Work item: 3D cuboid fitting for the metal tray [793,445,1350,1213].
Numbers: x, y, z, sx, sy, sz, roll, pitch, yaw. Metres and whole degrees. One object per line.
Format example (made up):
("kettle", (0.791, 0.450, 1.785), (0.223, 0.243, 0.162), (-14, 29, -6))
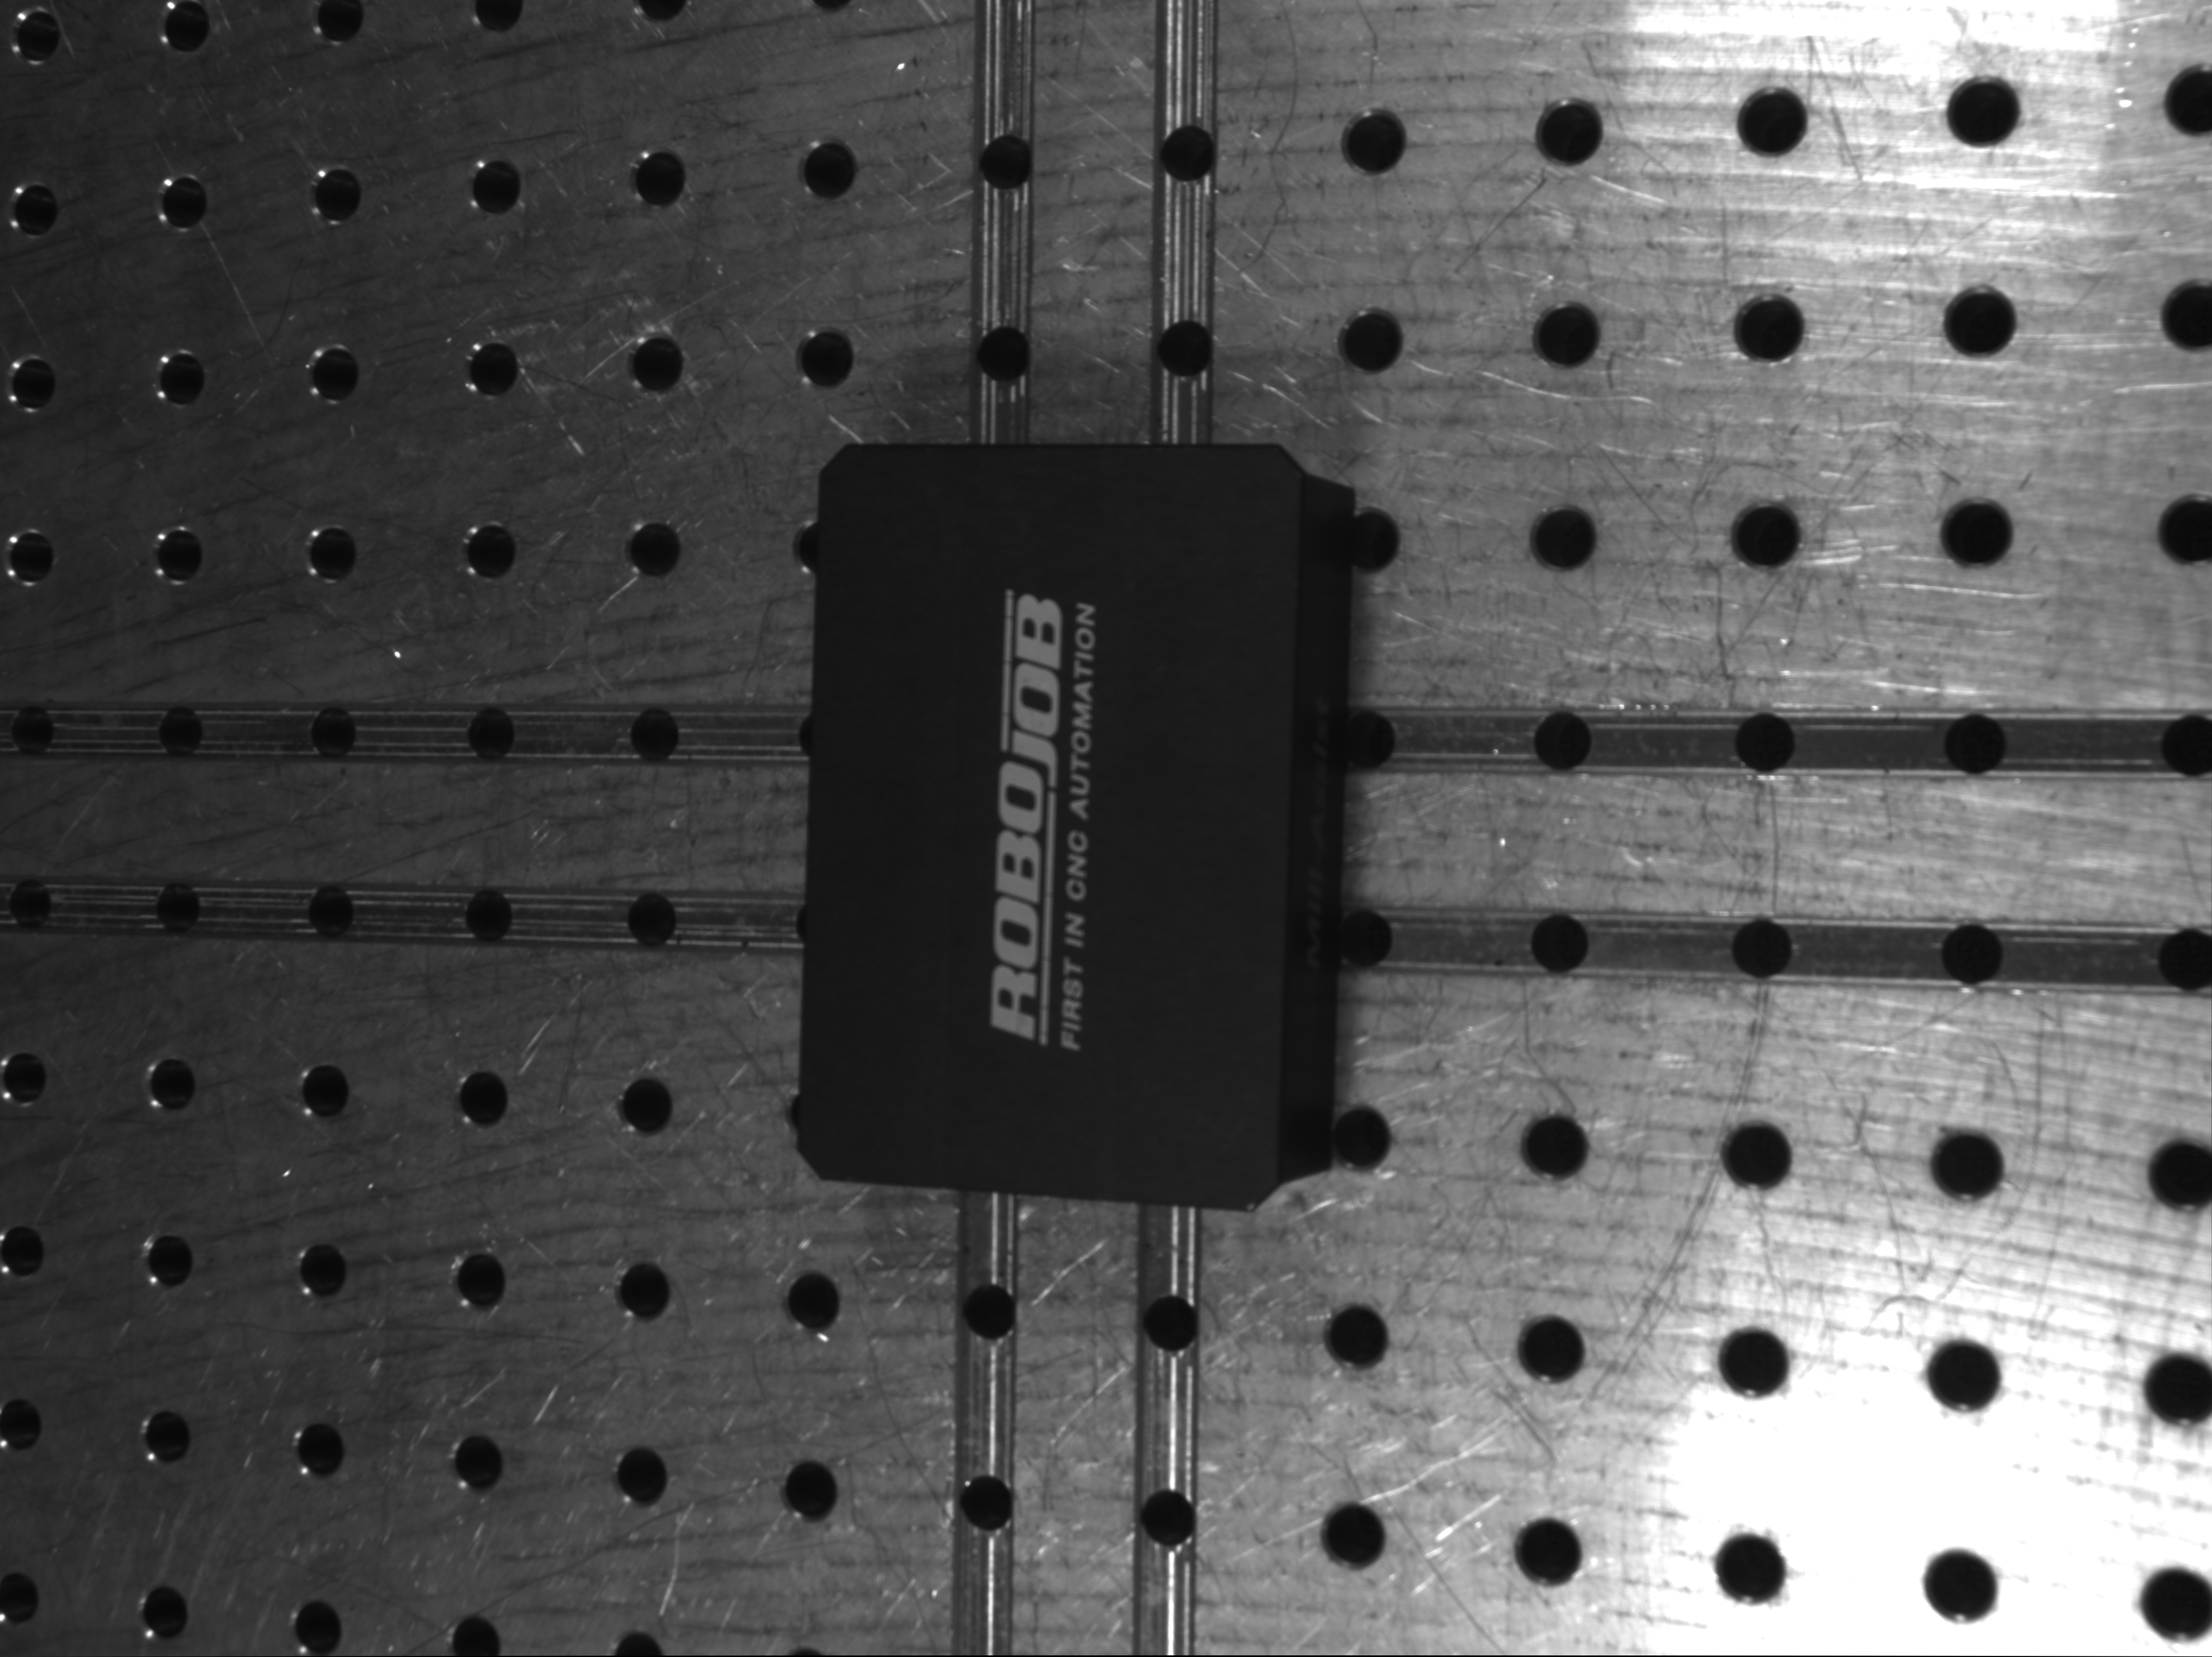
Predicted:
("metal tray", (-0.006, -0.001, 0.646), (0.090, 0.030, 0.130), (2, 91, 20))
